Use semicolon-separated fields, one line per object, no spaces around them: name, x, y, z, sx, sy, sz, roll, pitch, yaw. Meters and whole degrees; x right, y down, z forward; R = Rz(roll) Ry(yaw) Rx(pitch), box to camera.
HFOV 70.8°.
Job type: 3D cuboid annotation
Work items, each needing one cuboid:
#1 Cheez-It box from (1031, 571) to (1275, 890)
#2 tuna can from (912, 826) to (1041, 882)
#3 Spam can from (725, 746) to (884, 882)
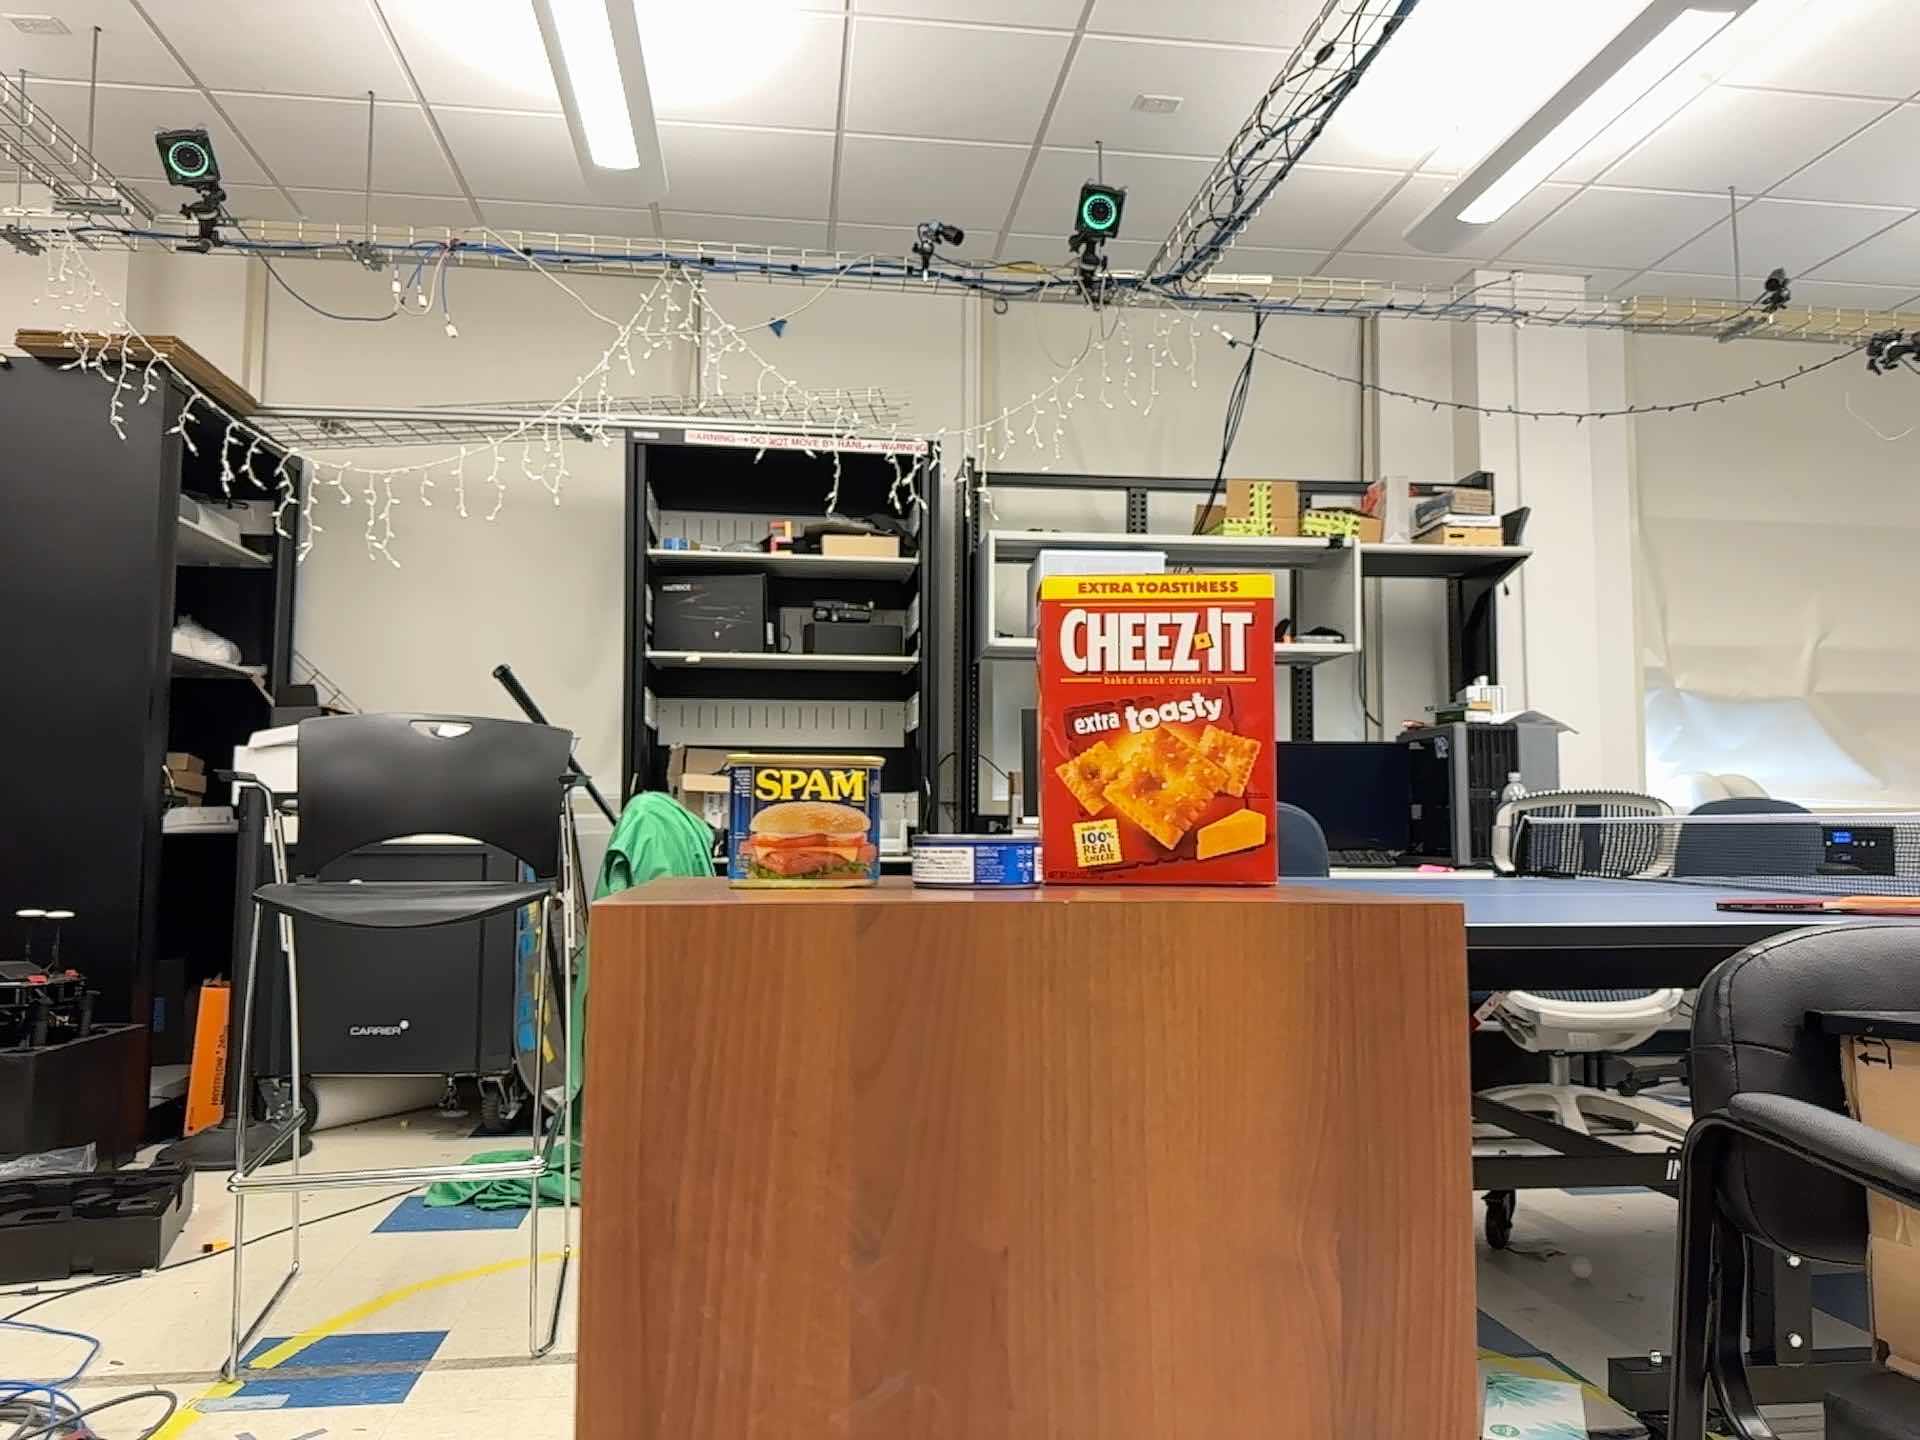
Cheez-It box;0.136;0.008;0.964;0.159;0.214;0.062;0;-5;-1
tuna can;0.011;0.088;0.880;0.083;0.034;0.083;-1;-7;0
Spam can;-0.101;0.061;0.875;0.100;0.083;0.056;1;-6;1
